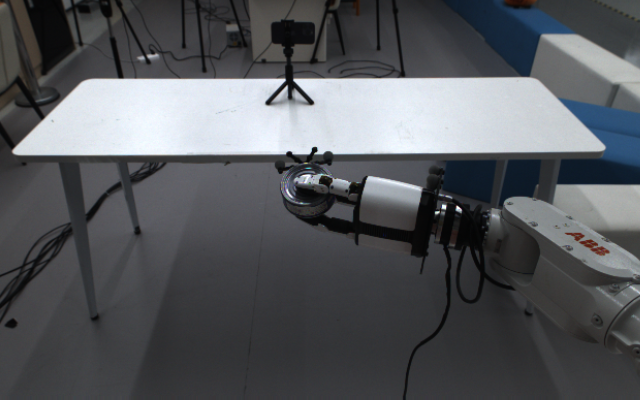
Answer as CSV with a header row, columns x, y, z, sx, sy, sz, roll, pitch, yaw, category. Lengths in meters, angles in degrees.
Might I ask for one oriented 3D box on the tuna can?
x,y,z,sx,sy,sz,roll,pitch,yaw,category
-0.015,-0.010,0.752,0.085,0.034,0.085,-3,58,5,tuna can
